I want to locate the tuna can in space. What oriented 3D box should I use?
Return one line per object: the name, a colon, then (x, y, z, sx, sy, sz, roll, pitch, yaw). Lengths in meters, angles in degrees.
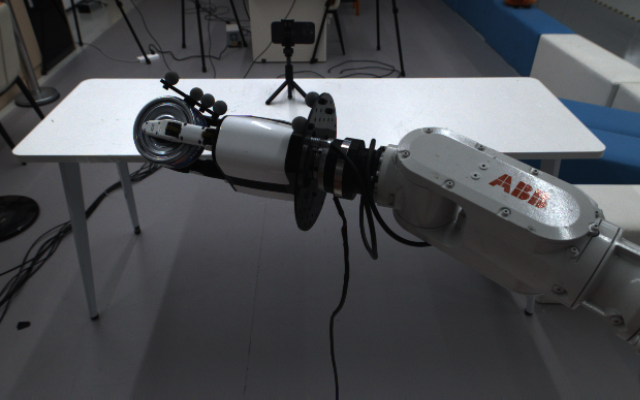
tuna can: (-0.184, -0.083, 0.596, 0.085, 0.085, 0.034, 12, -5, 14)
